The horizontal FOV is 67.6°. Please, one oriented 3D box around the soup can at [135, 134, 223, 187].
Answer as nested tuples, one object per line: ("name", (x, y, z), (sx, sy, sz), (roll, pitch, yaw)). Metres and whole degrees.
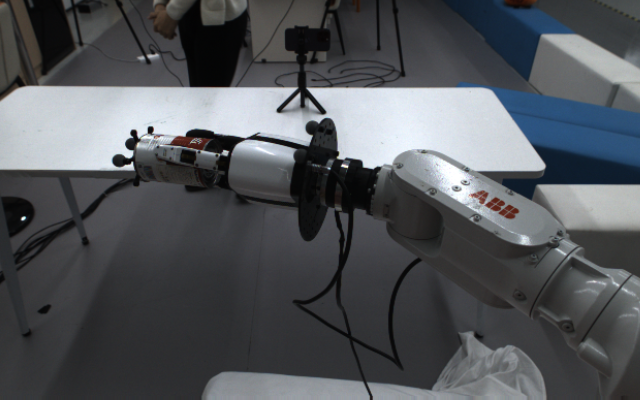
("soup can", (-0.192, -0.054, 0.664), (0.101, 0.067, 0.067), (6, 35, 12))
